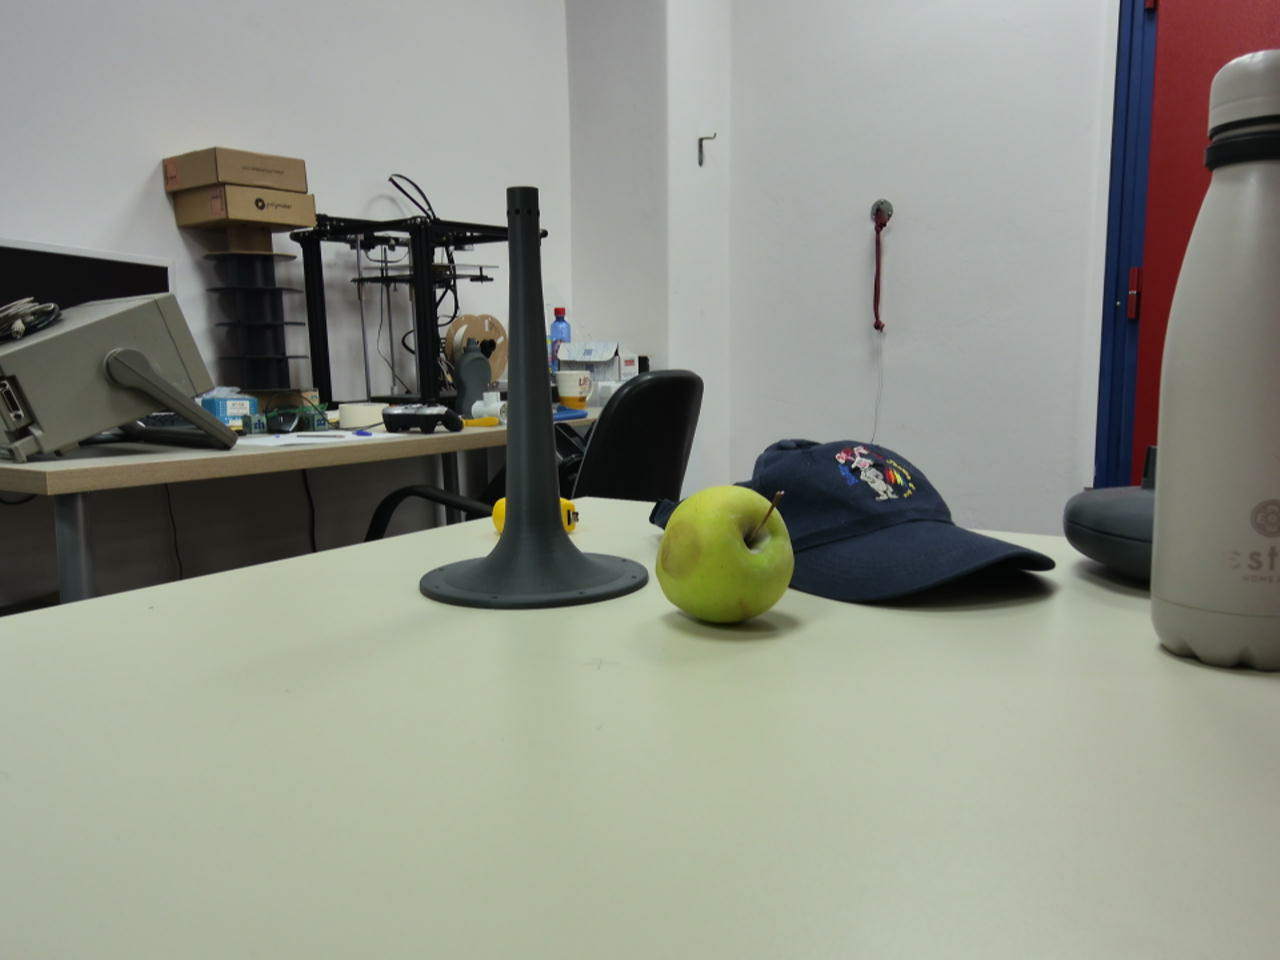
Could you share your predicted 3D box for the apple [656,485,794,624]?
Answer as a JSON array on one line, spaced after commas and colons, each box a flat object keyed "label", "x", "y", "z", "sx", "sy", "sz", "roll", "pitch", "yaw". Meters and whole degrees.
[{"label": "apple", "x": 0.047, "y": 0.041, "z": 0.554, "sx": 0.072, "sy": 0.075, "sz": 0.077, "roll": -1, "pitch": 5, "yaw": -10}]
